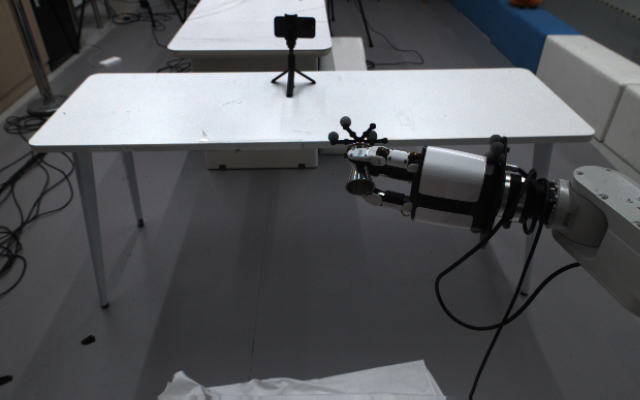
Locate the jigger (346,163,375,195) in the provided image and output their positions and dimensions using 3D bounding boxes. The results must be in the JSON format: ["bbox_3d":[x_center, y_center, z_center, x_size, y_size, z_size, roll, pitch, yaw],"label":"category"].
[{"bbox_3d":[0.059,-0.050,0.718,0.043,0.043,0.071,2,59,-1],"label":"jigger"}]
